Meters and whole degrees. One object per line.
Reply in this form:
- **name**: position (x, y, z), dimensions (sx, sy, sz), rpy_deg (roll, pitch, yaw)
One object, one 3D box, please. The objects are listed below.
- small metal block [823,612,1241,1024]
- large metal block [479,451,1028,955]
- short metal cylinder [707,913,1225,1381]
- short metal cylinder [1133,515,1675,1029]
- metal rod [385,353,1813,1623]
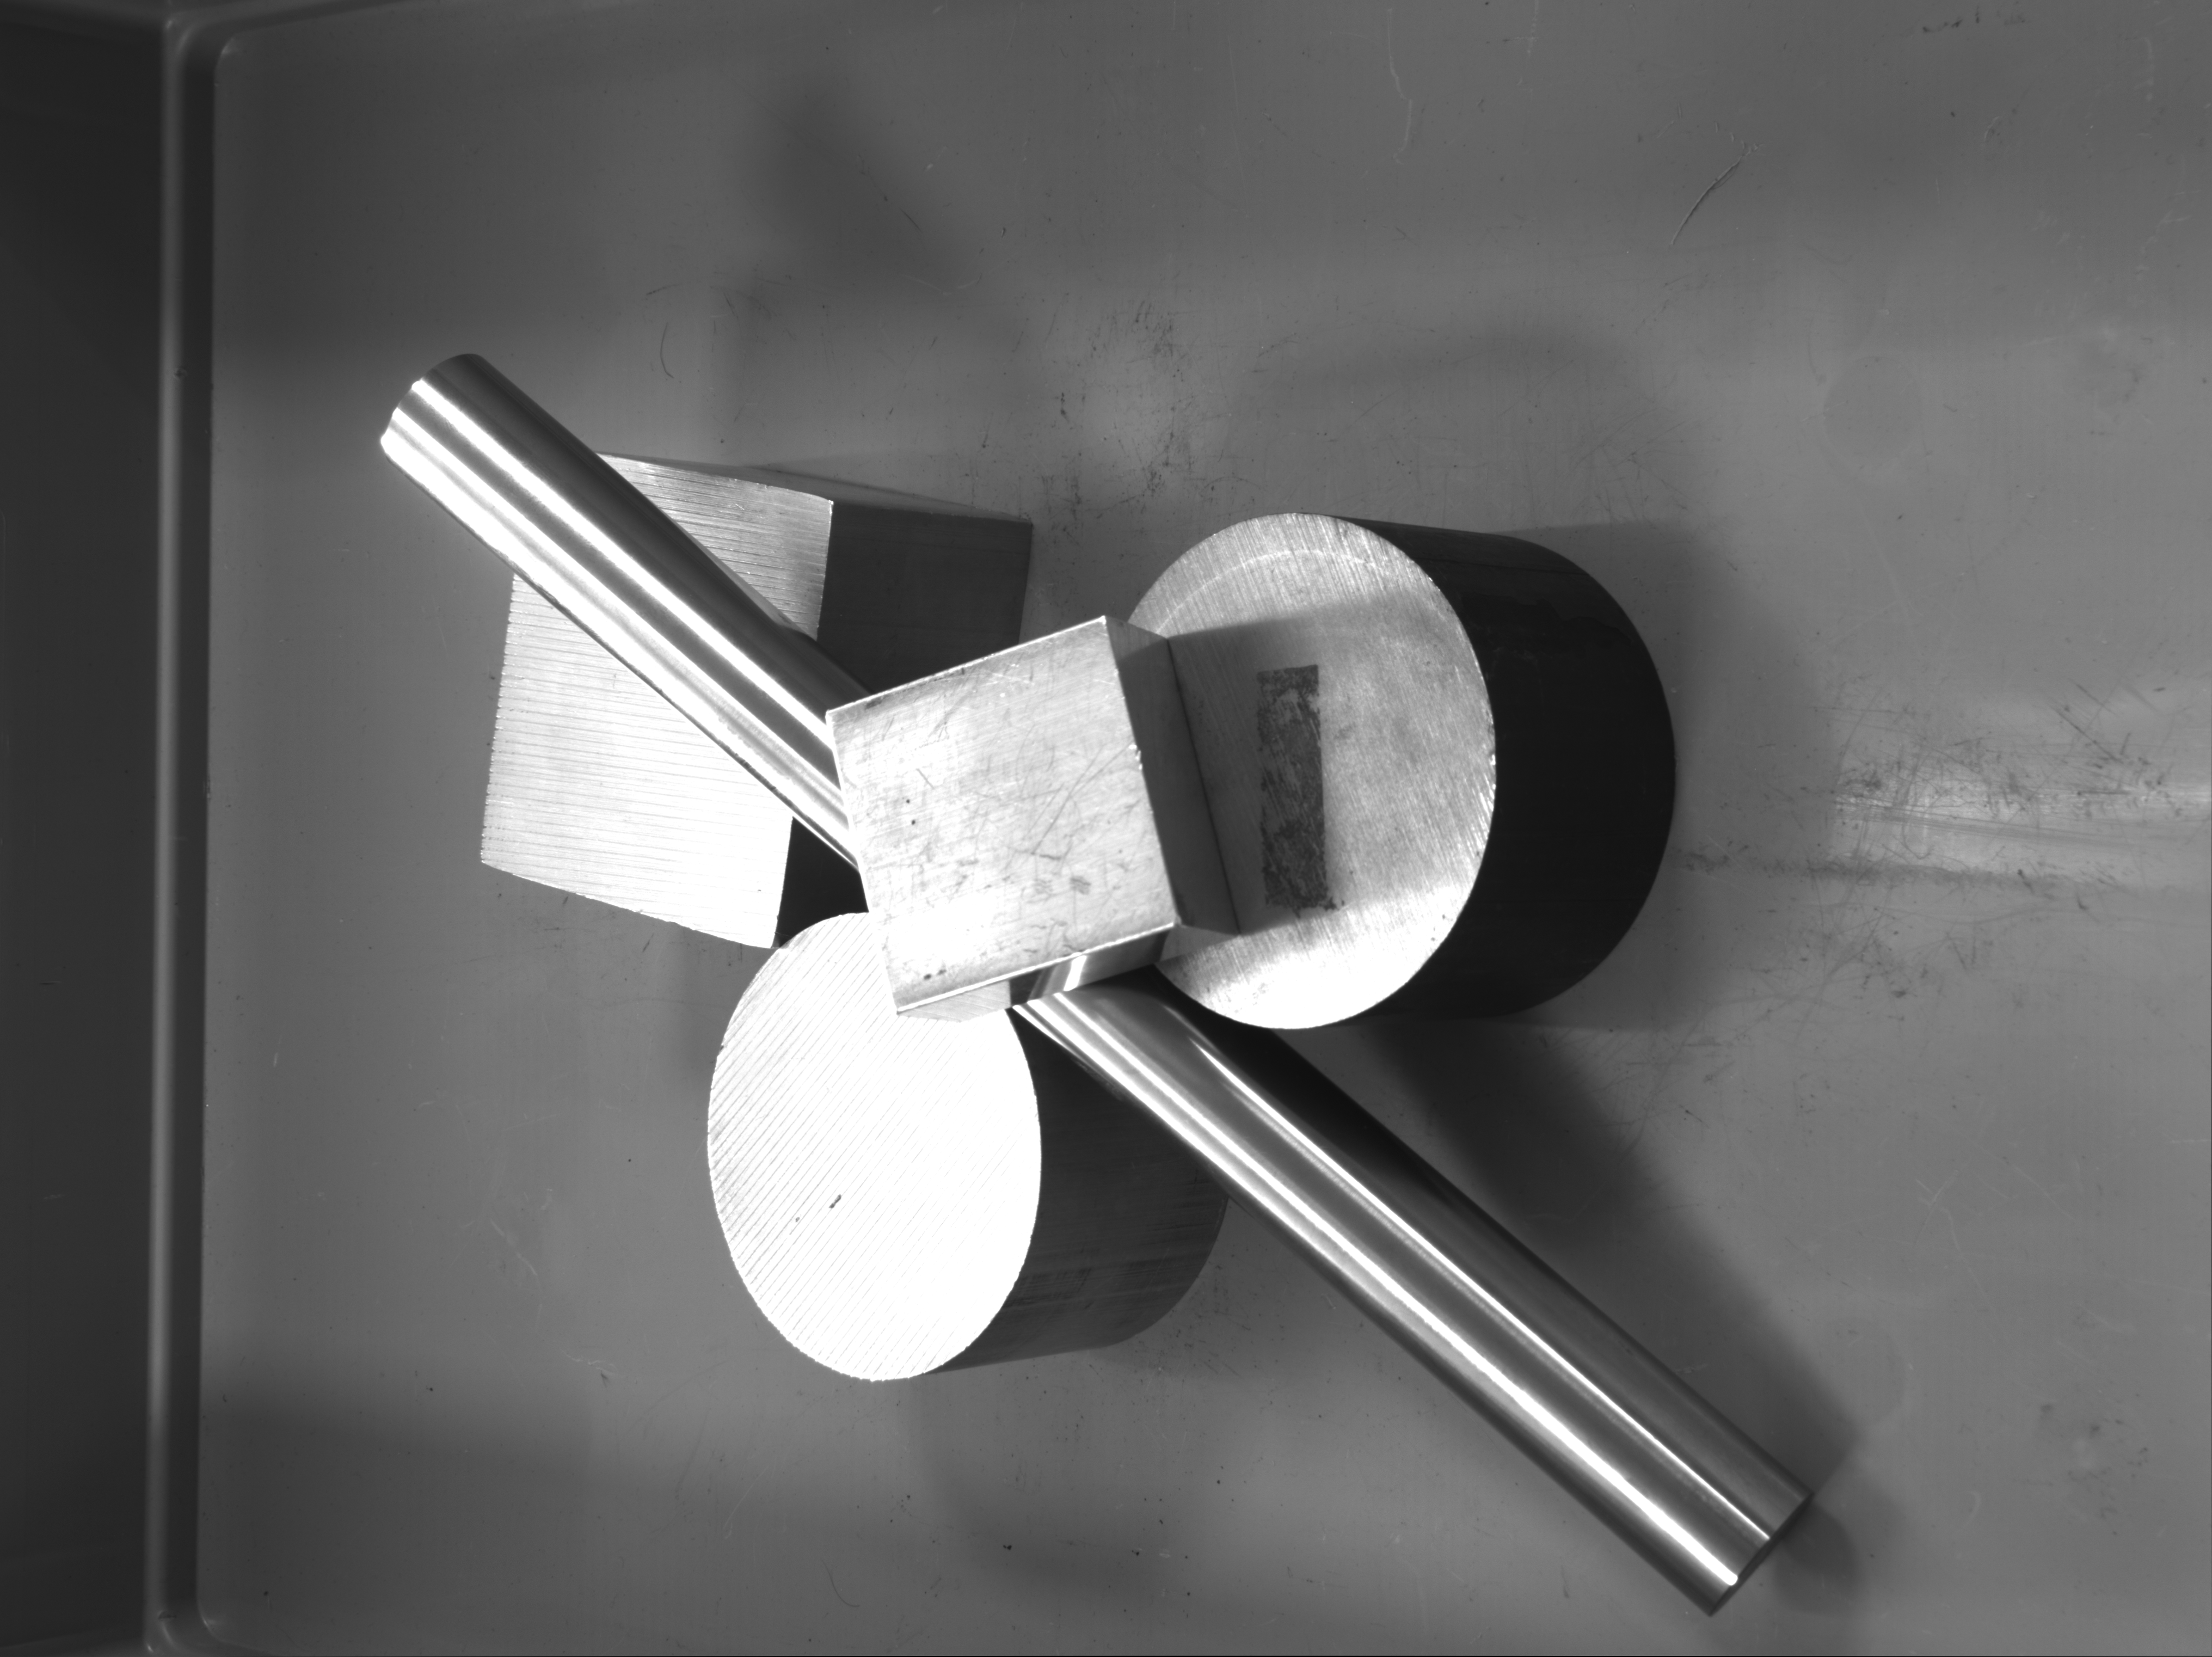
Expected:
- **small metal block**: position (-0.012, -0.001, 0.579), dimensions (0.050, 0.025, 0.050), rpy_deg (-18, 77, 20)
- **large metal block**: position (-0.066, -0.025, 0.681), dimensions (0.080, 0.050, 0.080), rpy_deg (14, 99, 39)
- **short metal cylinder**: position (-0.025, 0.054, 0.648), dimensions (0.080, 0.050, 0.080), rpy_deg (0, 90, 40)
- **short metal cylinder**: position (0.044, -0.009, 0.591), dimensions (0.080, 0.050, 0.080), rpy_deg (0, 90, 40)
- **metal rod**: position (-0.009, 0.019, 0.605), dimensions (0.299, 0.025, 0.025), rpy_deg (40, 115, 17)
